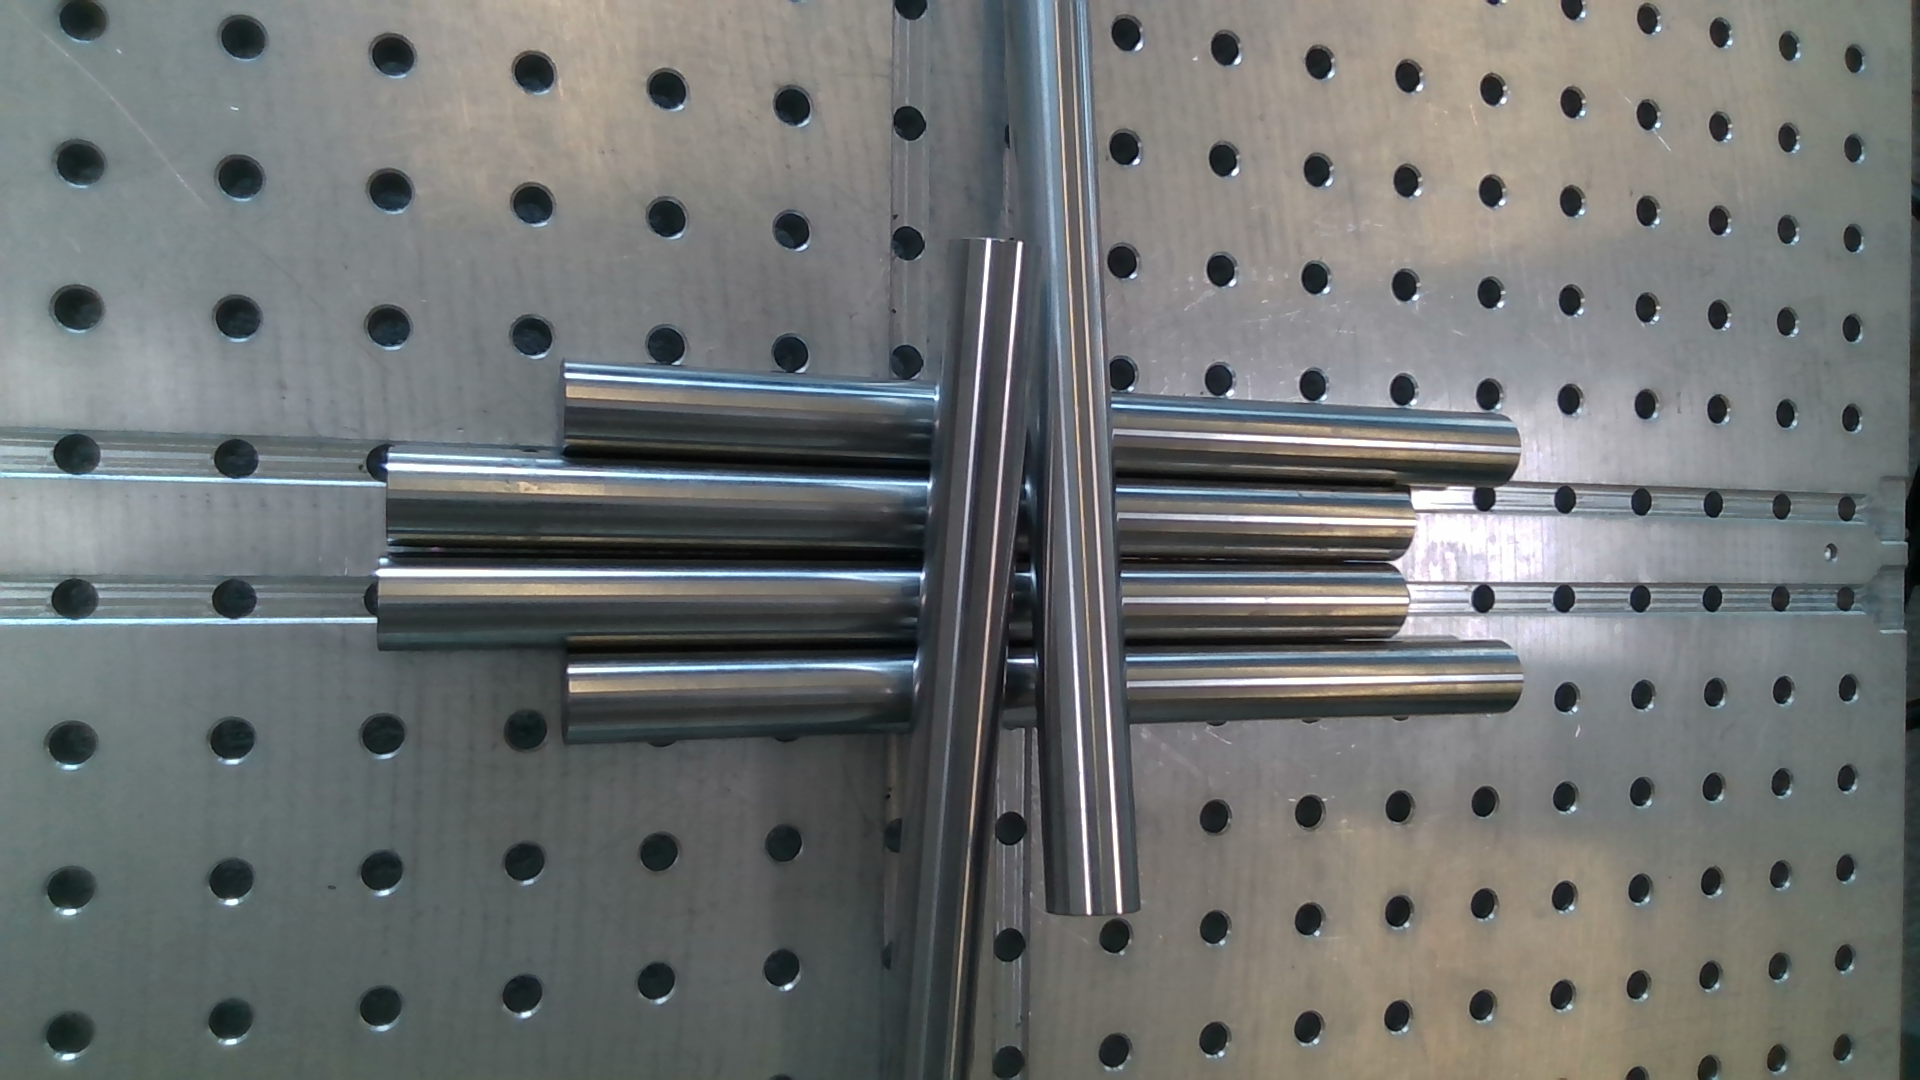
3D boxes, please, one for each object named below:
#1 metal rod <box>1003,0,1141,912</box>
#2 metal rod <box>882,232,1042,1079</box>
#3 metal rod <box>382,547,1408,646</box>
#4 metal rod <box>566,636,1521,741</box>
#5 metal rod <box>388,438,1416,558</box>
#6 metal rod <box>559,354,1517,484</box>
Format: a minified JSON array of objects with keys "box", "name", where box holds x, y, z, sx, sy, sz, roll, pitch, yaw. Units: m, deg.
[{"box":[0.029,-0.052,0.382,0.025,0.025,0.300,1,81,-20],"name":"metal rod"},{"box":[-0.003,0.071,0.373,0.025,0.025,0.300,2,98,-20],"name":"metal rod"},{"box":[-0.003,0.017,0.396,0.300,0.025,0.025,1,90,-20],"name":"metal rod"},{"box":[0.038,0.042,0.410,0.300,0.025,0.025,1,90,-20],"name":"metal rod"},{"box":[-0.001,-0.010,0.395,0.300,0.025,0.025,1,89,-20],"name":"metal rod"},{"box":[0.037,-0.033,0.409,0.300,0.025,0.025,1,90,-20],"name":"metal rod"}]
